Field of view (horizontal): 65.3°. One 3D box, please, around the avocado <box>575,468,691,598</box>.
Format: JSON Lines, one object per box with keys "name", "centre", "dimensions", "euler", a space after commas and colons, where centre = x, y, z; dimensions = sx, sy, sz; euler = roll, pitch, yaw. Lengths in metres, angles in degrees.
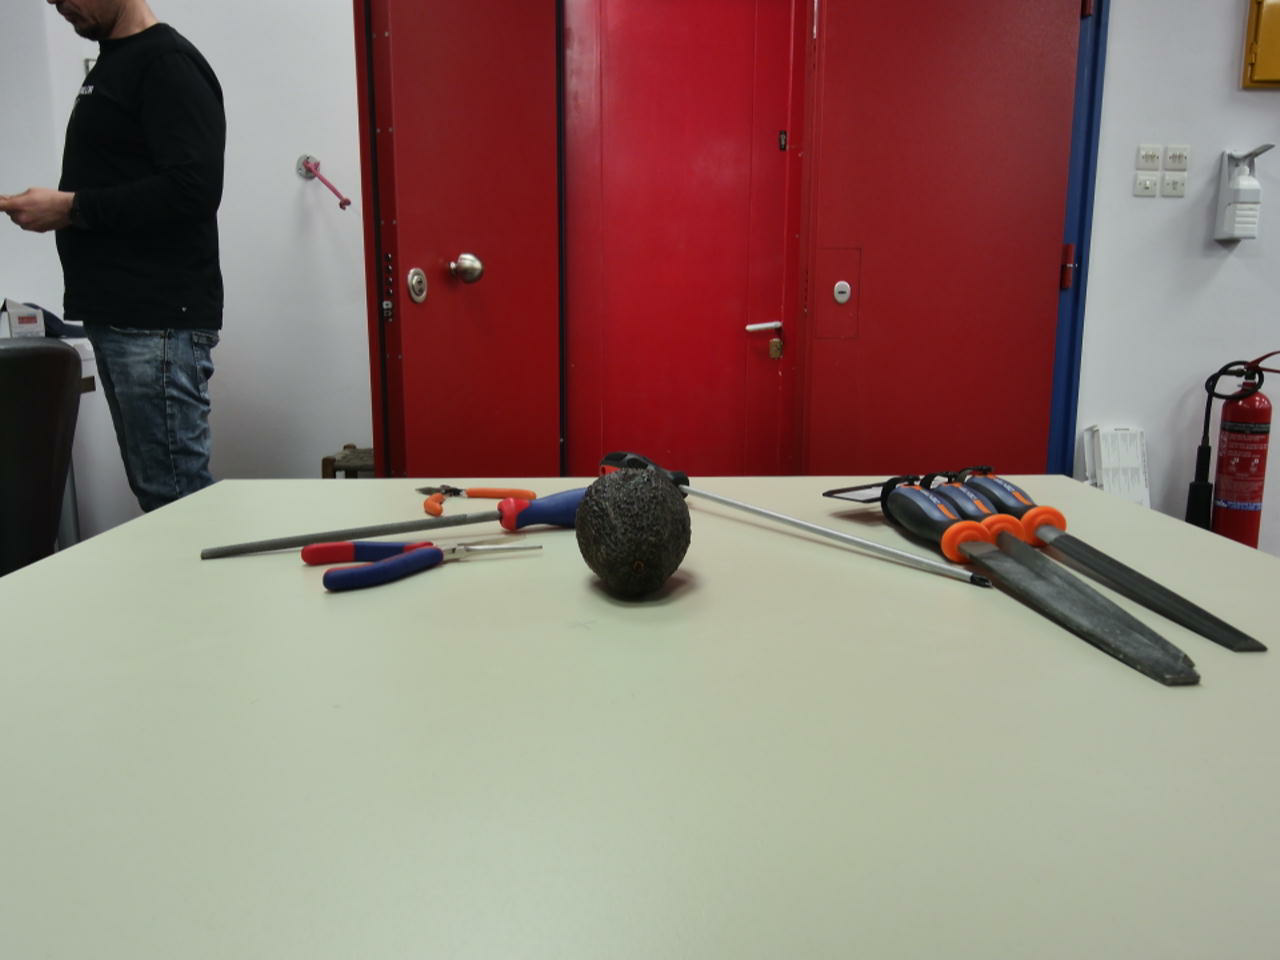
{"name": "avocado", "centre": [-0.006, 0.028, 0.592], "dimensions": [0.070, 0.069, 0.090], "euler": [5, 8, 24]}
